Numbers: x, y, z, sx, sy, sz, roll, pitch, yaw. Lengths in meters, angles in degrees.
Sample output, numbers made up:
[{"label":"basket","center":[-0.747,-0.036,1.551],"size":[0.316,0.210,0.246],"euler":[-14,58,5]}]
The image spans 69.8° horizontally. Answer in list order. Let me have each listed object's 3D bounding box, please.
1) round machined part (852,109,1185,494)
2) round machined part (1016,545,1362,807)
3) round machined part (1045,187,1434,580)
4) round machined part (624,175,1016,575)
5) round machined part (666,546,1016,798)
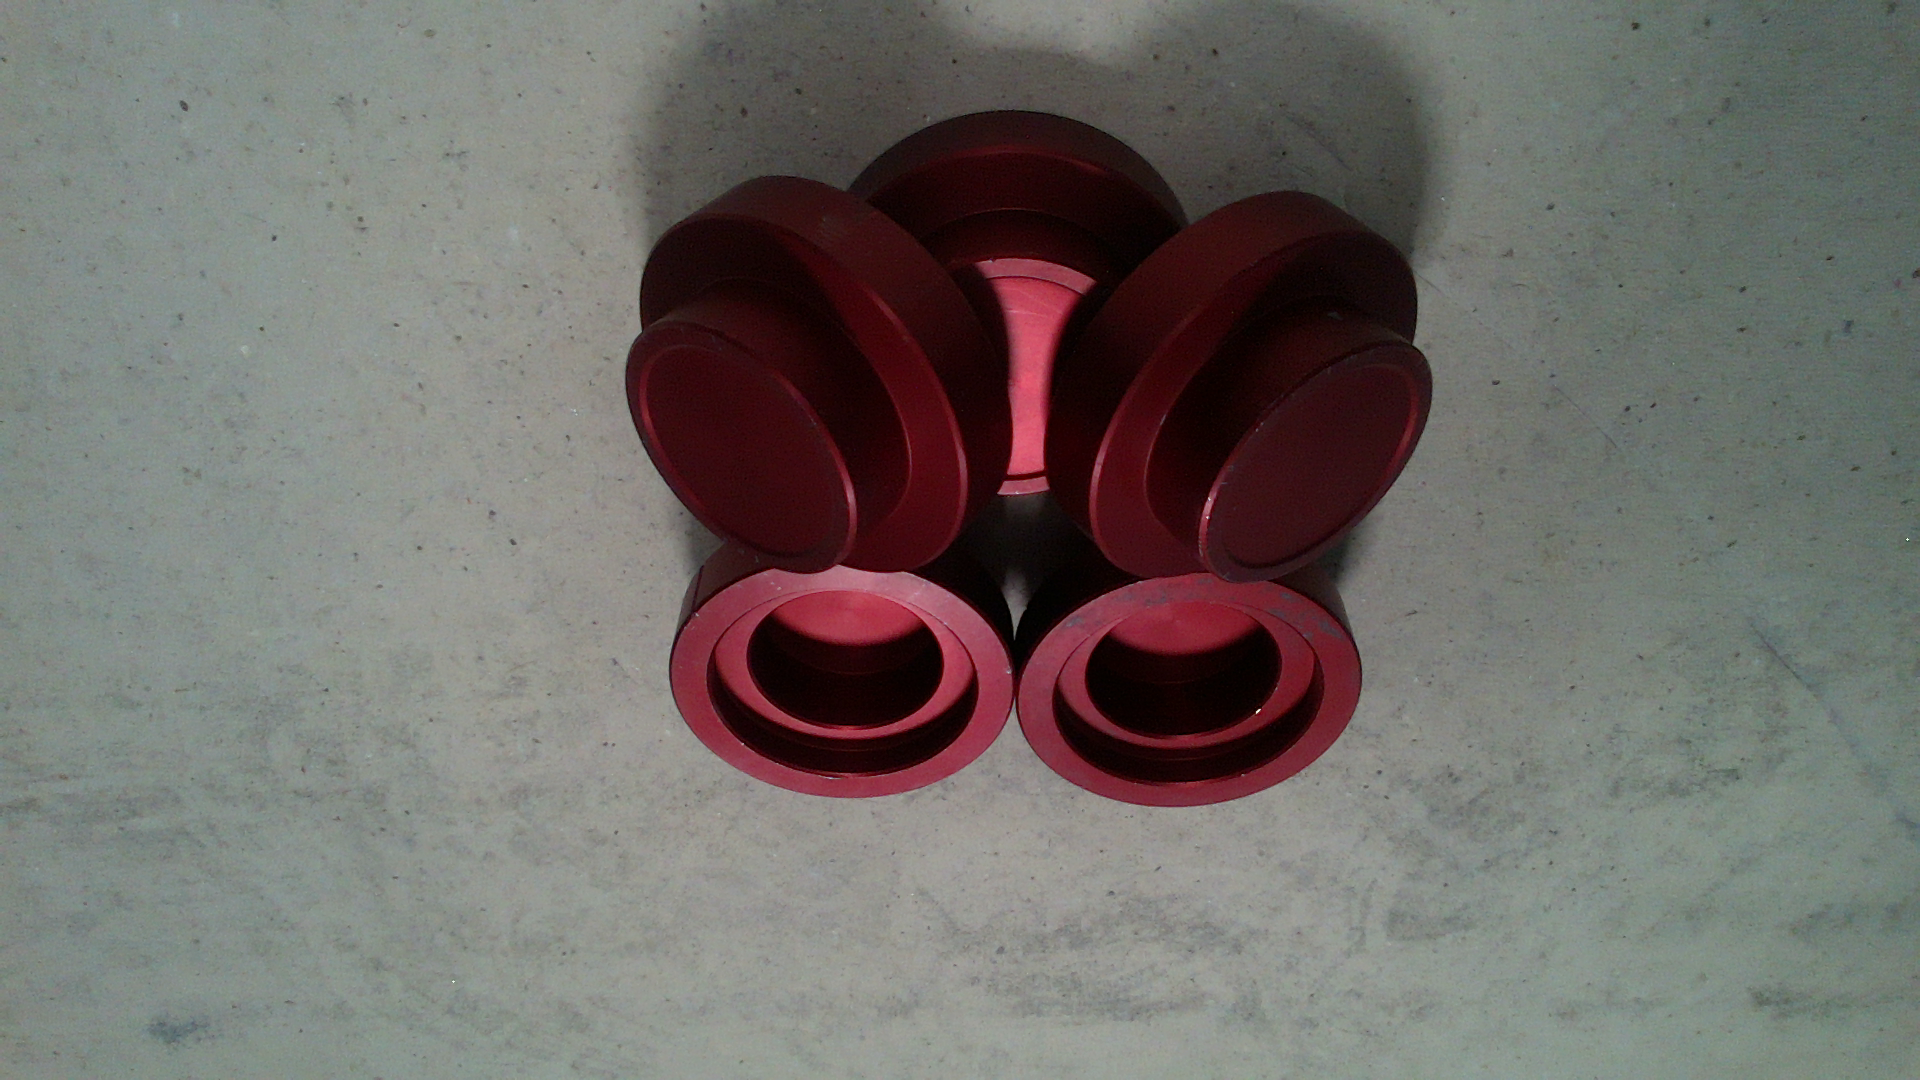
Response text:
[{"label":"round machined part","center":[0.012,-0.050,0.337],"size":[0.098,0.042,0.098],"euler":[0,130,0]},{"label":"round machined part","center":[0.065,0.032,0.407],"size":[0.098,0.042,0.098],"euler":[0,130,0]},{"label":"round machined part","center":[0.072,-0.029,0.327],"size":[0.098,0.042,0.098],"euler":[-24,141,-21]},{"label":"round machined part","center":[-0.039,-0.031,0.322],"size":[0.098,0.042,0.098],"euler":[24,139,23]},{"label":"round machined part","center":[-0.033,0.028,0.403],"size":[0.098,0.042,0.098],"euler":[0,130,0]}]
